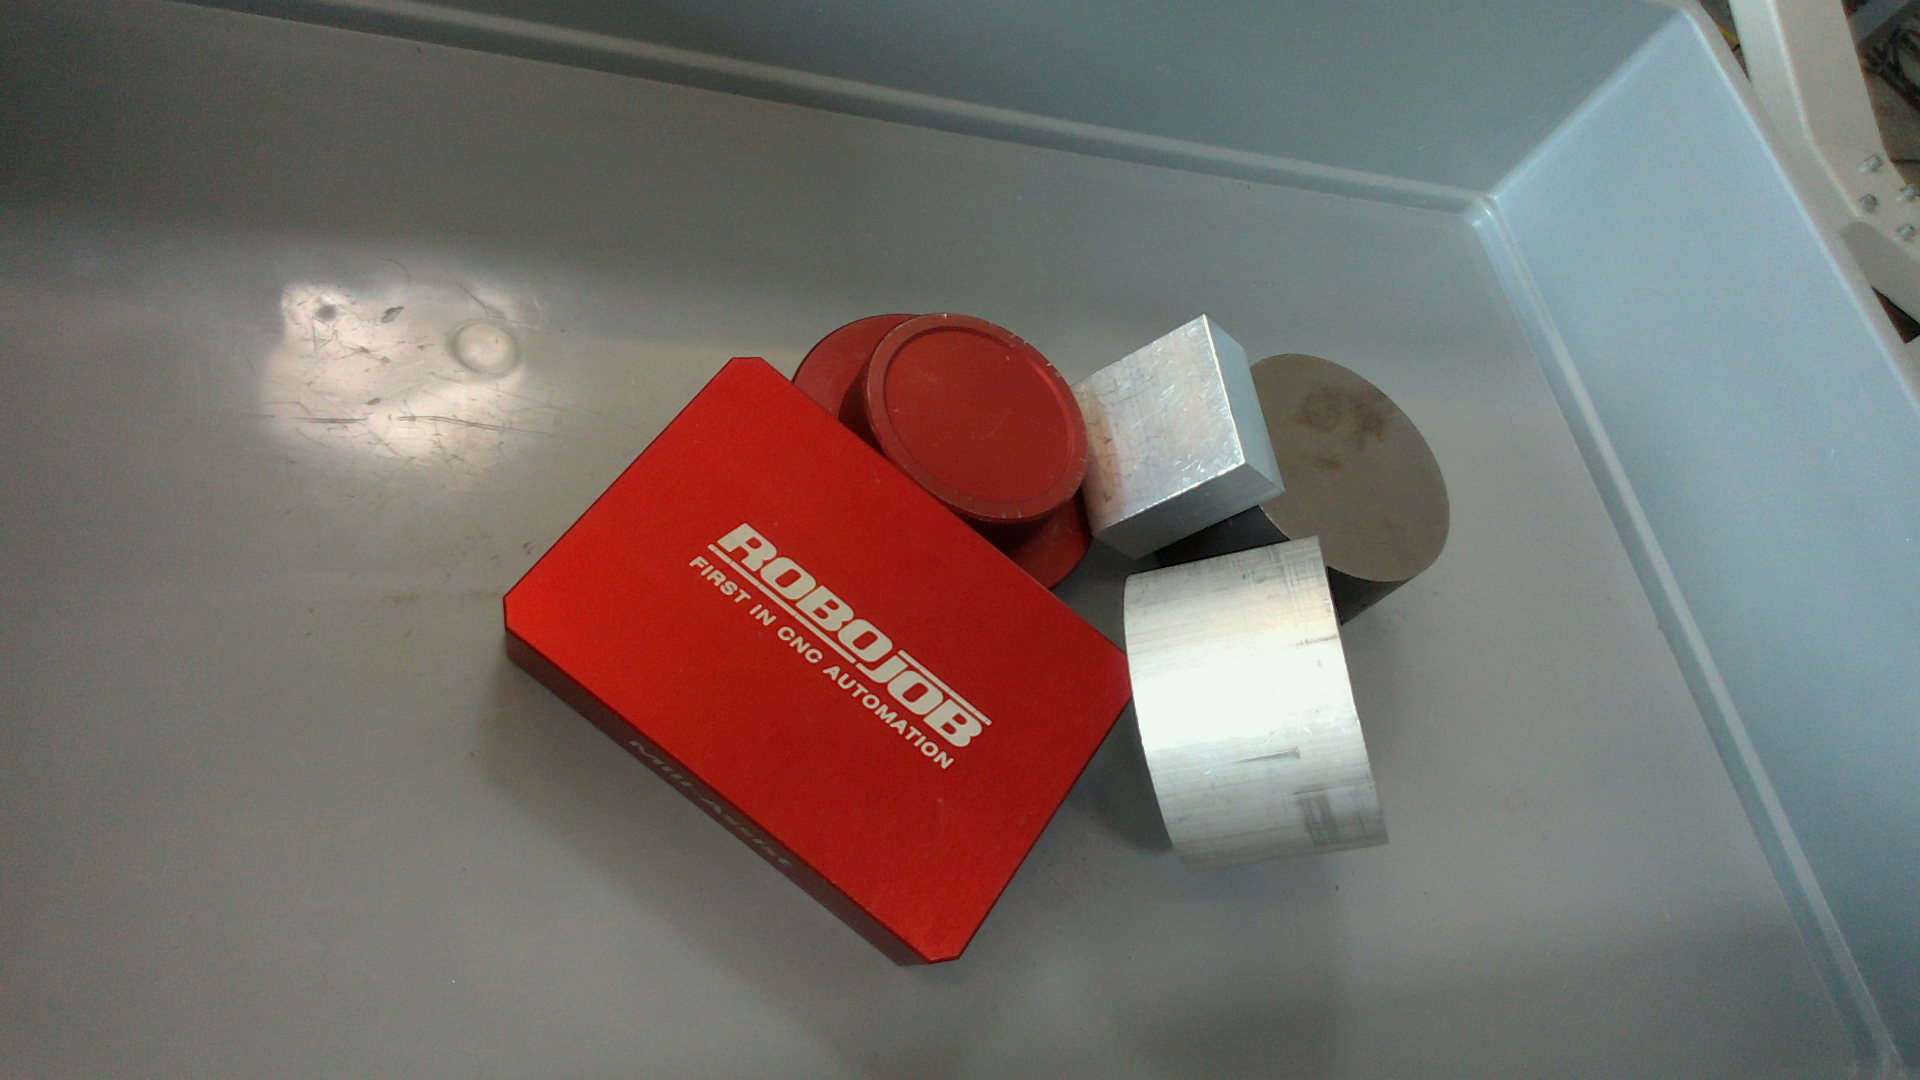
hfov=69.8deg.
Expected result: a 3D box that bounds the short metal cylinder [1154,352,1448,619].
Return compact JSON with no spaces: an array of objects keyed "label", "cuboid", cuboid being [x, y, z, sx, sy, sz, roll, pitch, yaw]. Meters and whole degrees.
[{"label":"short metal cylinder","cuboid":[0.105,-0.012,0.436,0.080,0.050,0.080,14,56,-21]}]

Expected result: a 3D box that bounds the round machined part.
[{"label":"round machined part","cuboid":[-0.003,-0.026,0.391,0.098,0.042,0.098,14,56,-21]}]

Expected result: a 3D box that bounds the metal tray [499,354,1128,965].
[{"label":"metal tray","cuboid":[-0.032,0.028,0.335,0.130,0.030,0.090,39,66,-2]}]

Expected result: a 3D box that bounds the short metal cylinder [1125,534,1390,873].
[{"label":"short metal cylinder","cuboid":[0.078,0.043,0.360,0.050,0.080,0.080,-13,59,14]}]

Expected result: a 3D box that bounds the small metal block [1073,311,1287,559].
[{"label":"small metal block","cuboid":[0.061,-0.030,0.399,0.025,0.050,0.050,27,45,-48]}]
